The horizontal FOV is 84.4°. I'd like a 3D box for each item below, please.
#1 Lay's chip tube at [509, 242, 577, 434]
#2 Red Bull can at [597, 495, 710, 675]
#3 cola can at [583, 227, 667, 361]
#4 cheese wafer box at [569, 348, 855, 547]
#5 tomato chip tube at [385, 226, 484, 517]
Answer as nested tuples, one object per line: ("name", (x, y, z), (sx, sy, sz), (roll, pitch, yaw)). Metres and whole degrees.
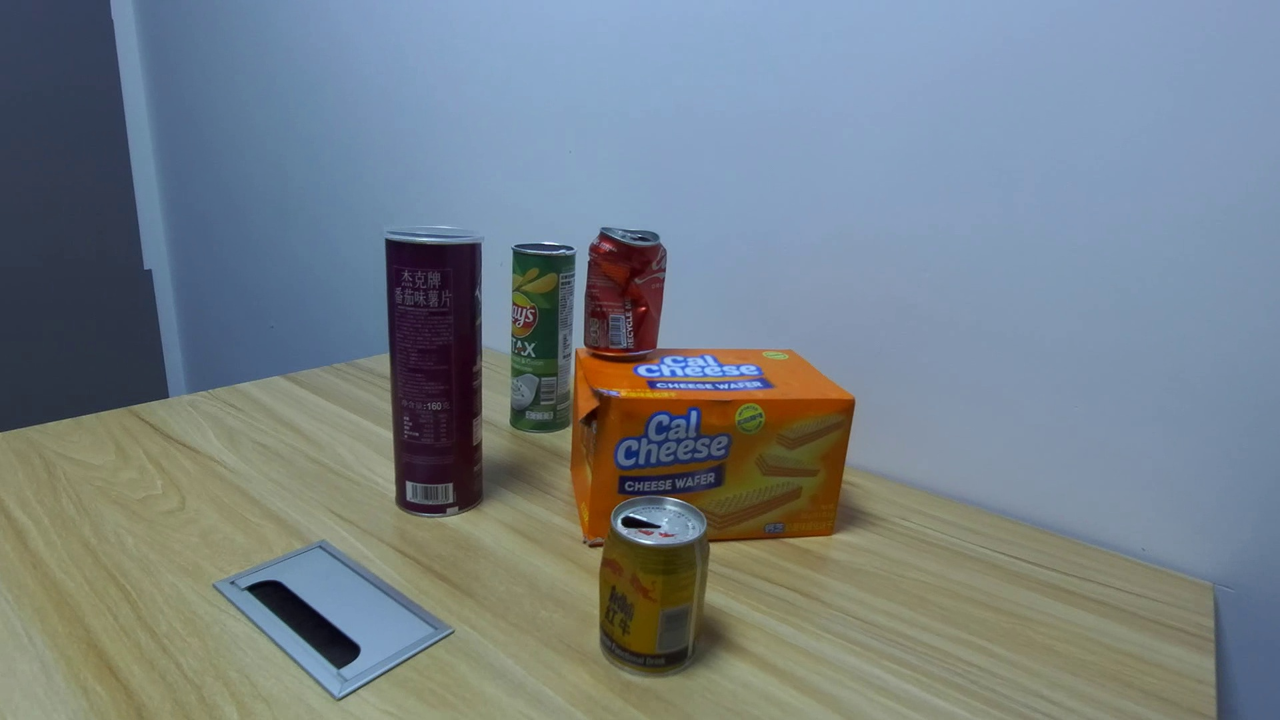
("Lay's chip tube", (-0.107, -0.025, 0.784), (0.071, 0.202, 0.071), (3, 17, -1))
("Red Bull can", (0.008, 0.140, 0.448), (0.069, 0.092, 0.069), (4, 19, -1))
("cola can", (-0.016, -0.059, 0.625), (0.069, 0.112, 0.065), (7, 18, 6))
("cheese wafer box", (0.053, 0.066, 0.632), (0.227, 0.137, 0.149), (1, 18, -11))
("tomato chip tube", (-0.173, 0.012, 0.602), (0.078, 0.233, 0.078), (4, 16, -1))
